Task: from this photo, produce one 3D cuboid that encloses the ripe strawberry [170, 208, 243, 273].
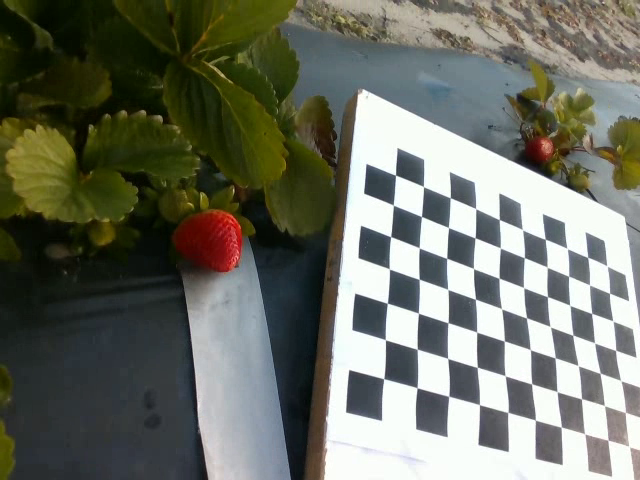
[{"bbox_3d":[-0.054,0.003,0.325,0.050,0.055,0.036,18,-47,-32],"label":"ripe strawberry"}]
